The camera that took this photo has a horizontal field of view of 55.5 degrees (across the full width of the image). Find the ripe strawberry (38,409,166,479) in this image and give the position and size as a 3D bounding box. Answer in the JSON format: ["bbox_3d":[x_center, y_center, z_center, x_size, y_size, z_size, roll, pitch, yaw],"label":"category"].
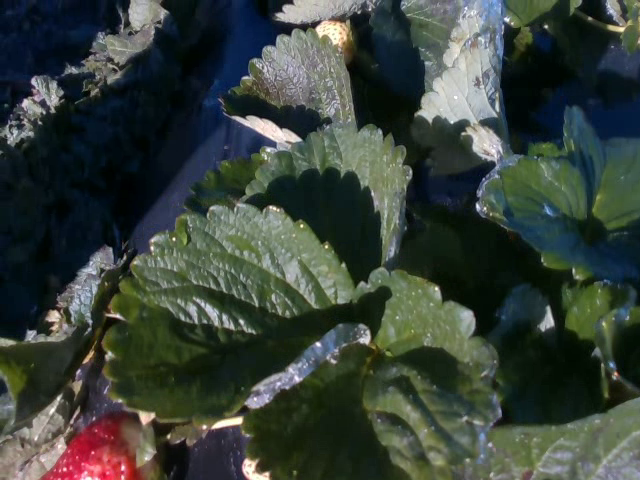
[{"bbox_3d":[-0.097,0.094,0.244,0.068,0.040,0.048,-33,42,5],"label":"ripe strawberry"}]
